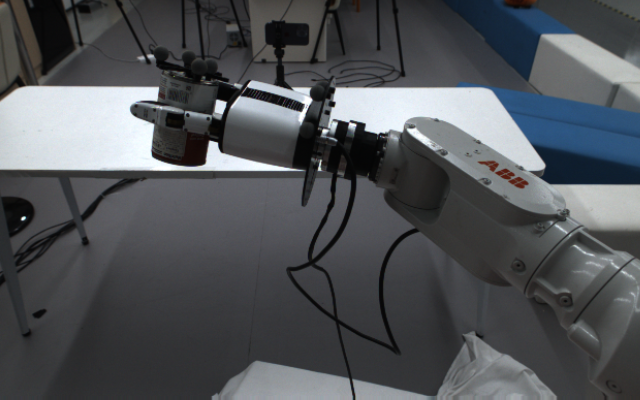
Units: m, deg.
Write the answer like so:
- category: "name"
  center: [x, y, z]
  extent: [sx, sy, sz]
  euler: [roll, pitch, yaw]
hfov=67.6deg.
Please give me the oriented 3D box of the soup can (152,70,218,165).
- category: "soup can"
  center: [-0.162, -0.098, 0.581]
  extent: [0.067, 0.101, 0.067]
  euler: [13, 18, -4]
